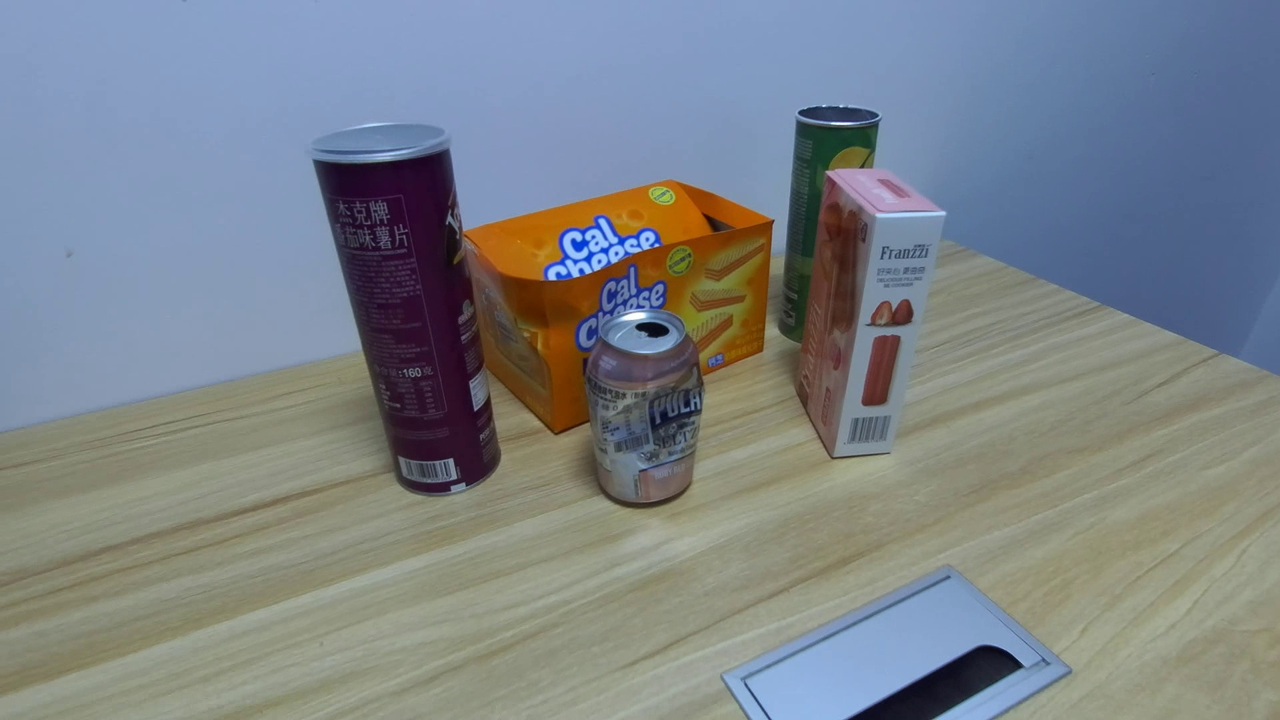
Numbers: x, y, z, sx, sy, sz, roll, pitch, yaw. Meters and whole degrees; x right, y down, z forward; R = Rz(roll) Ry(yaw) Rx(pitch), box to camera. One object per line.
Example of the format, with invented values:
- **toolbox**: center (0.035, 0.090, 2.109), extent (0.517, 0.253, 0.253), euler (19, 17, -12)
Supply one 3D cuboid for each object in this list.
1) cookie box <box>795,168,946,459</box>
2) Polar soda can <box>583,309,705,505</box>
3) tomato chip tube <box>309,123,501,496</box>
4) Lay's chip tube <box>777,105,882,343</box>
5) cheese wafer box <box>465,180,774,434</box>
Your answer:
- **cookie box**: center (0.158, -0.031, 0.505), extent (0.048, 0.185, 0.096), euler (-2, 31, -5)
- **Polar soda can**: center (0.005, 0.033, 0.464), extent (0.074, 0.122, 0.067), euler (3, 31, 9)
- **tomato chip tube**: center (-0.143, -0.025, 0.459), extent (0.078, 0.234, 0.078), euler (-1, 31, 1)
- **Lay's chip tube**: center (0.166, -0.118, 0.630), extent (0.071, 0.203, 0.071), euler (-1, 32, 1)
- **cheese wafer box**: center (-0.018, -0.054, 0.607), extent (0.231, 0.132, 0.151), euler (-20, 36, -29)
